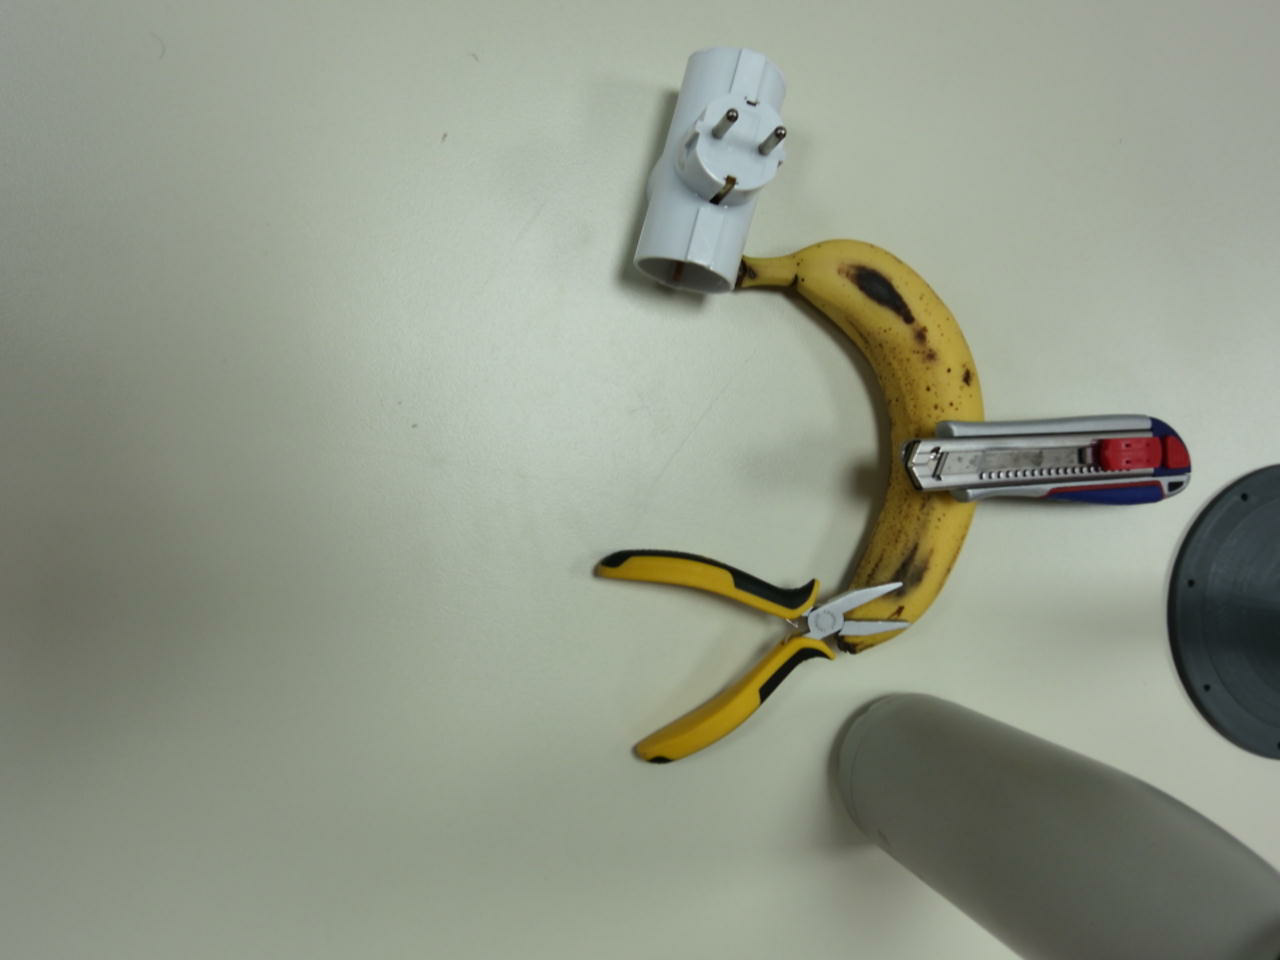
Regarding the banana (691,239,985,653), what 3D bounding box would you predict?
[{"bbox_3d":[0.105,-0.025,0.443,0.097,0.038,0.186,-19,93,-11],"label":"banana"}]
